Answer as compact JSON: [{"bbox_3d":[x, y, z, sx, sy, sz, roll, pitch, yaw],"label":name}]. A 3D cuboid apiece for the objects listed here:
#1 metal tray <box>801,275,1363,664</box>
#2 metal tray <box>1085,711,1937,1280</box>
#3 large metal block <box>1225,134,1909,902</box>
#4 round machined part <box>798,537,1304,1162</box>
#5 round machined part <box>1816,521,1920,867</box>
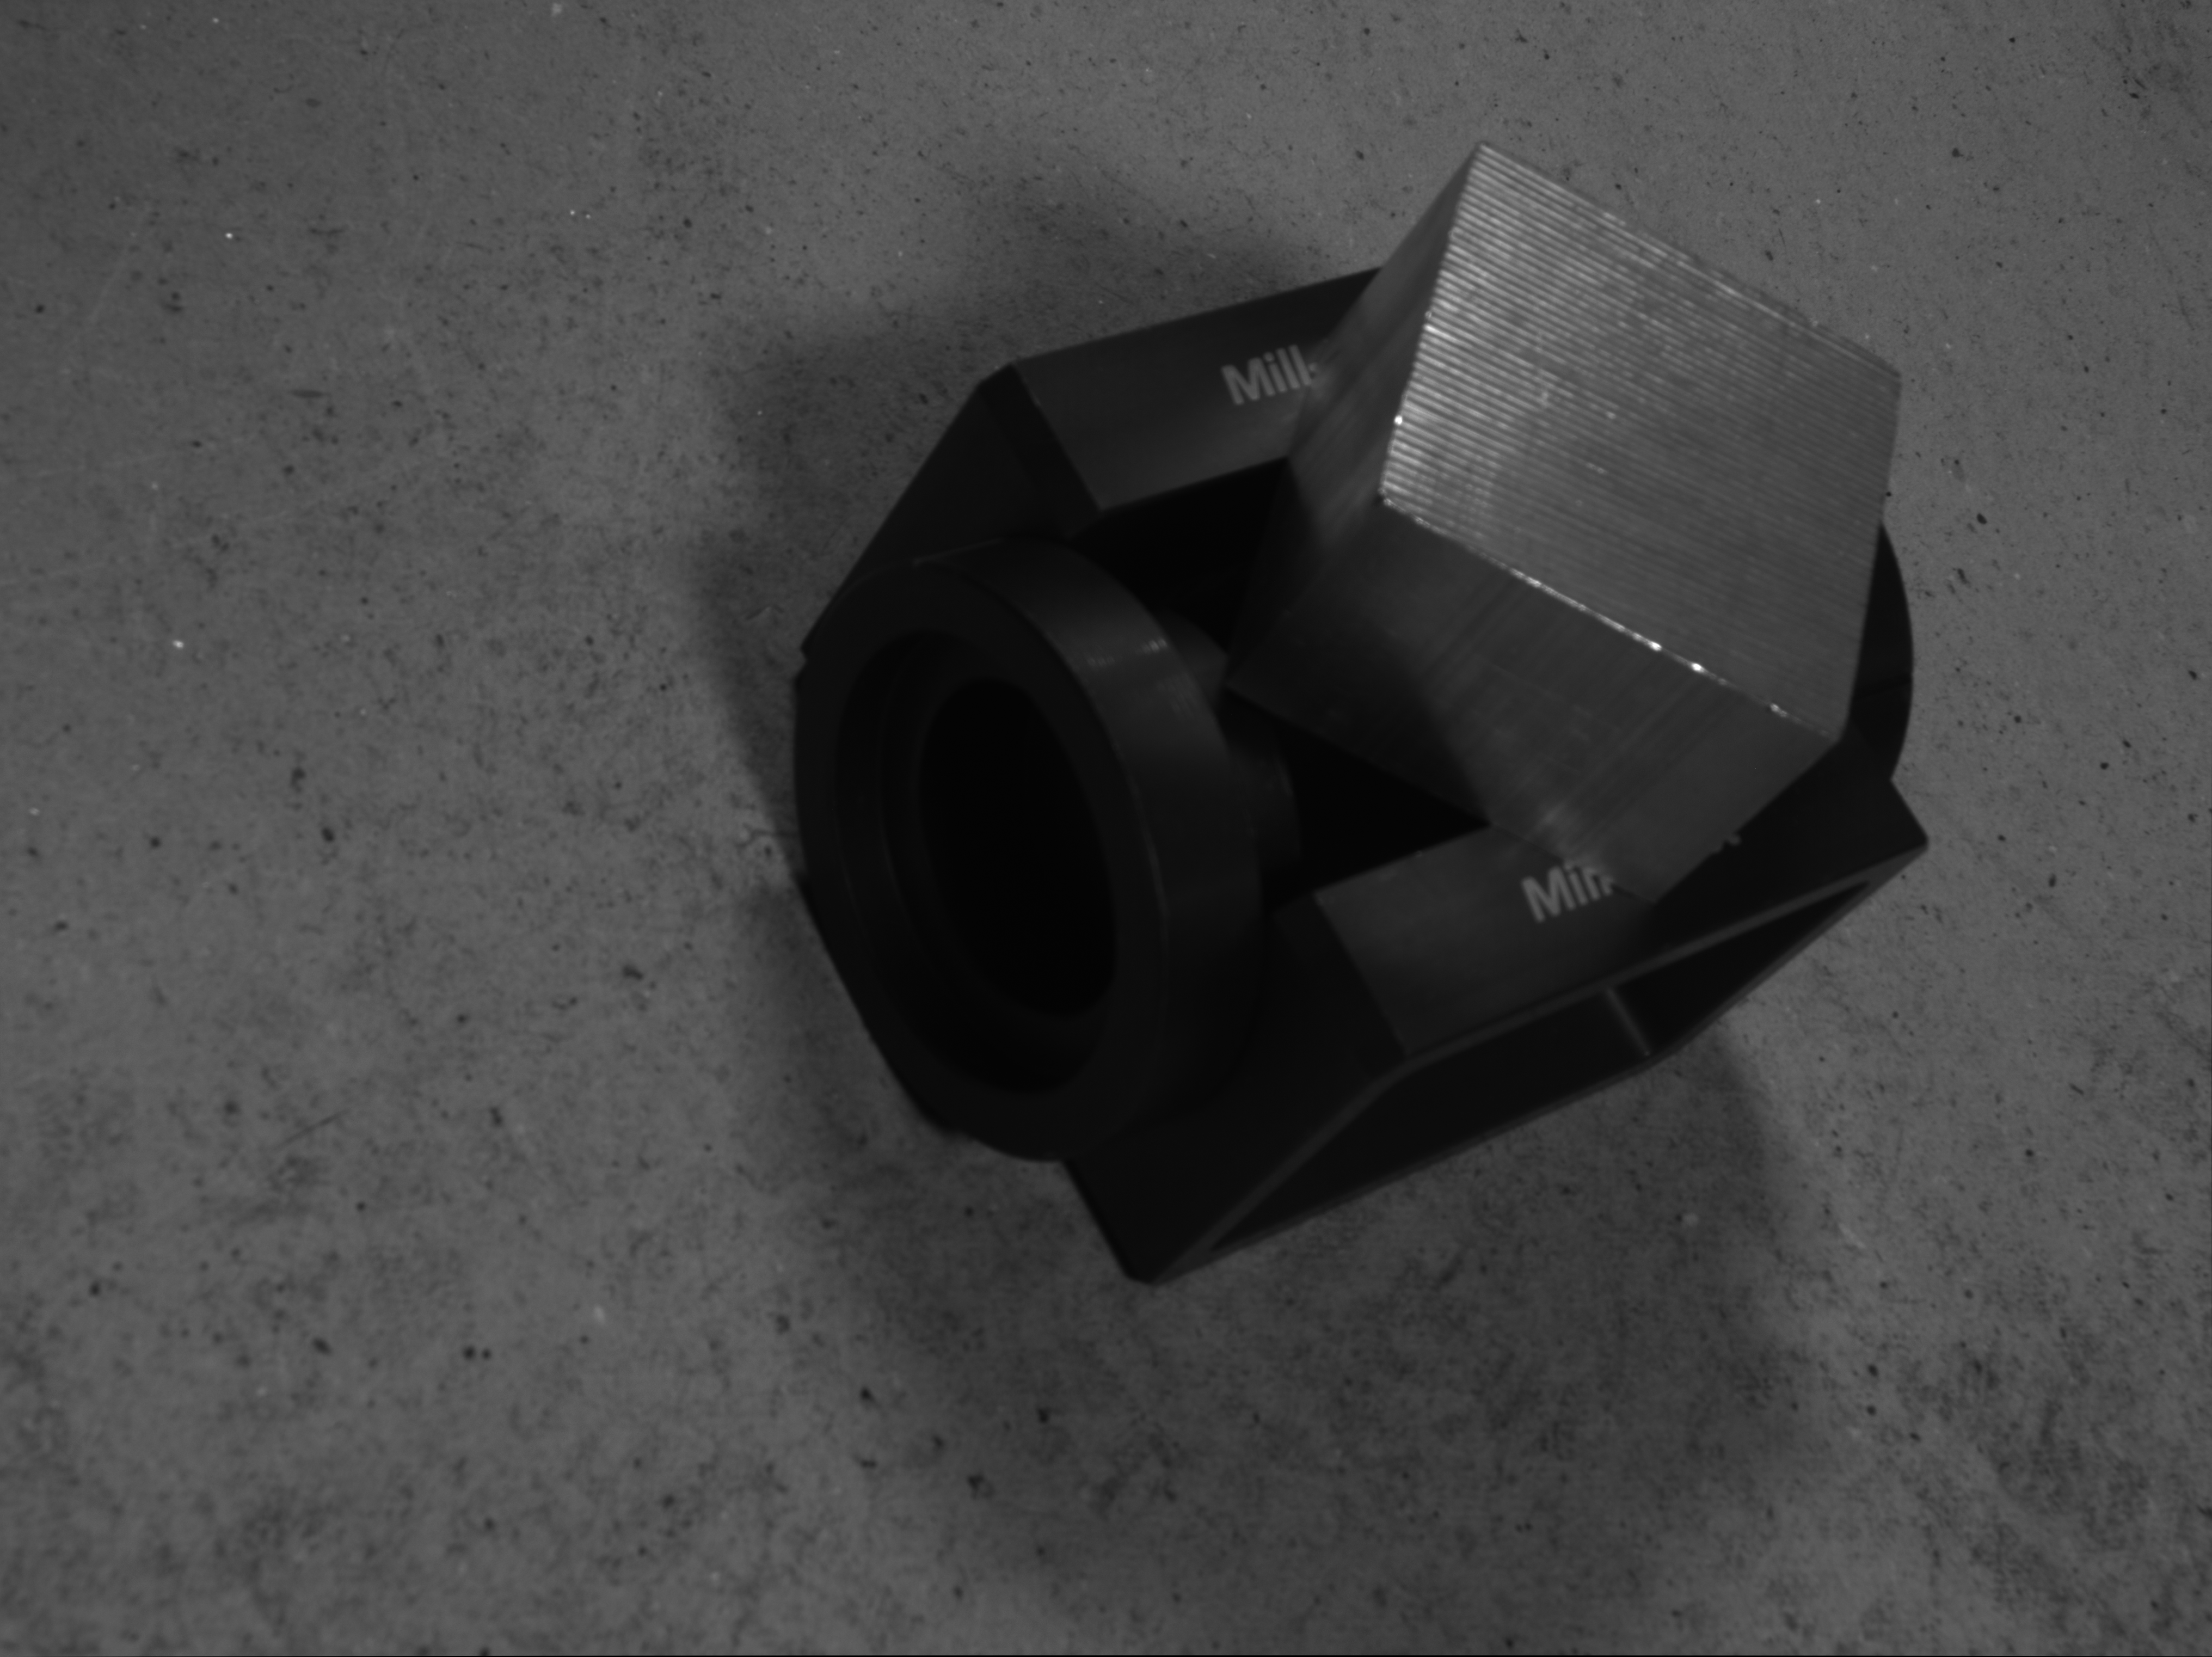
[{"bbox_3d":[0.020,-0.056,0.645,0.130,0.090,0.030,-20,72,-35],"label":"metal tray"},{"bbox_3d":[0.067,0.026,0.616,0.130,0.090,0.030,-19,72,-35],"label":"metal tray"},{"bbox_3d":[0.074,-0.048,0.574,0.080,0.050,0.080,27,52,-12],"label":"large metal block"},{"bbox_3d":[-0.006,0.001,0.589,0.042,0.098,0.098,-16,70,-34],"label":"round machined part"},{"bbox_3d":[0.097,-0.033,0.665,0.042,0.098,0.098,-16,70,-34],"label":"round machined part"}]
